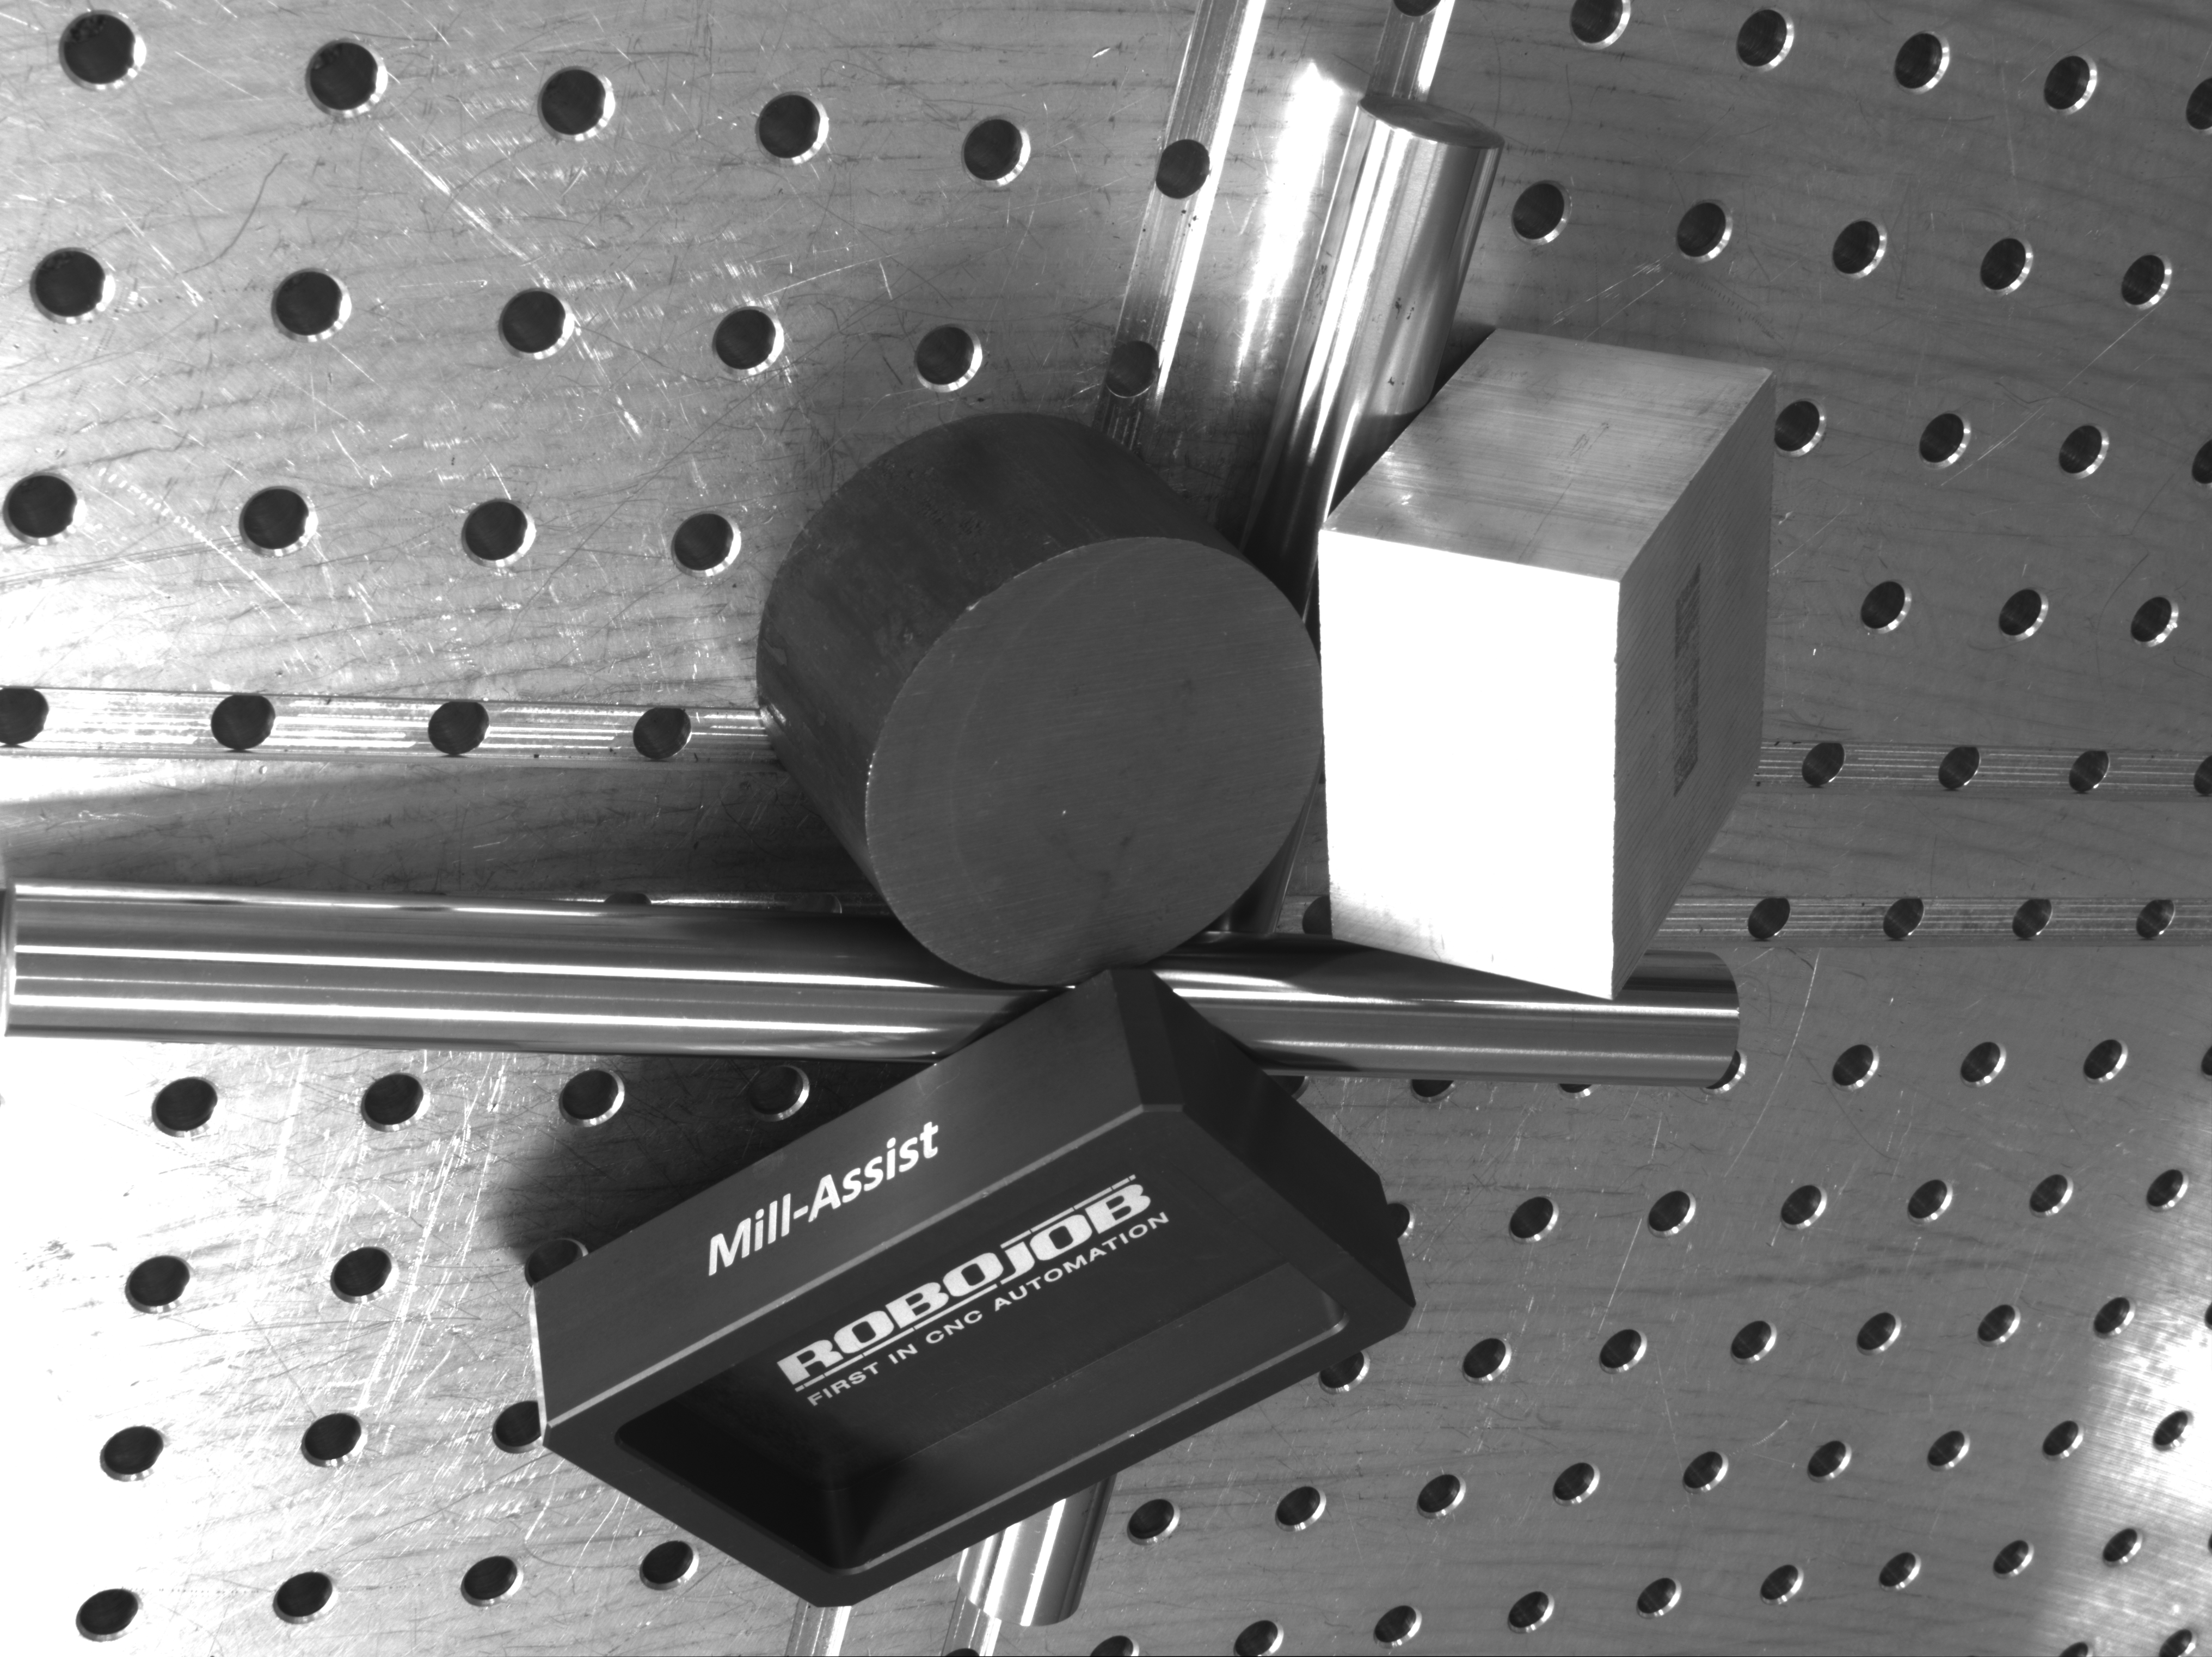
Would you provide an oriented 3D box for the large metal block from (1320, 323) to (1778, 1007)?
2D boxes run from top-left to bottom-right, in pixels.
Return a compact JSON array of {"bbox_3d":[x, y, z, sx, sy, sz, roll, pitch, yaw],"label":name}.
[{"bbox_3d":[0.076,-0.029,0.622,0.080,0.050,0.080,-50,144,-48],"label":"large metal block"}]

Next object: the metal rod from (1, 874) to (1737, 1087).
[{"bbox_3d":[-0.030,0.027,0.620,0.301,0.025,0.025,3,117,-22],"label":"metal rod"}]

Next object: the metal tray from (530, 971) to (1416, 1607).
[{"bbox_3d":[-0.023,0.084,0.643,0.130,0.030,0.090,-29,137,17],"label":"metal tray"}]

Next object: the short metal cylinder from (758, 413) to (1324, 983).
[{"bbox_3d":[-0.011,-0.022,0.605,0.080,0.050,0.080,-13,124,-21],"label":"short metal cylinder"}]

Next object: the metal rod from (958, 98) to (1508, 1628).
[{"bbox_3d":[0.018,0.017,0.661,0.025,0.025,0.300,1,118,-28],"label":"metal rod"}]
